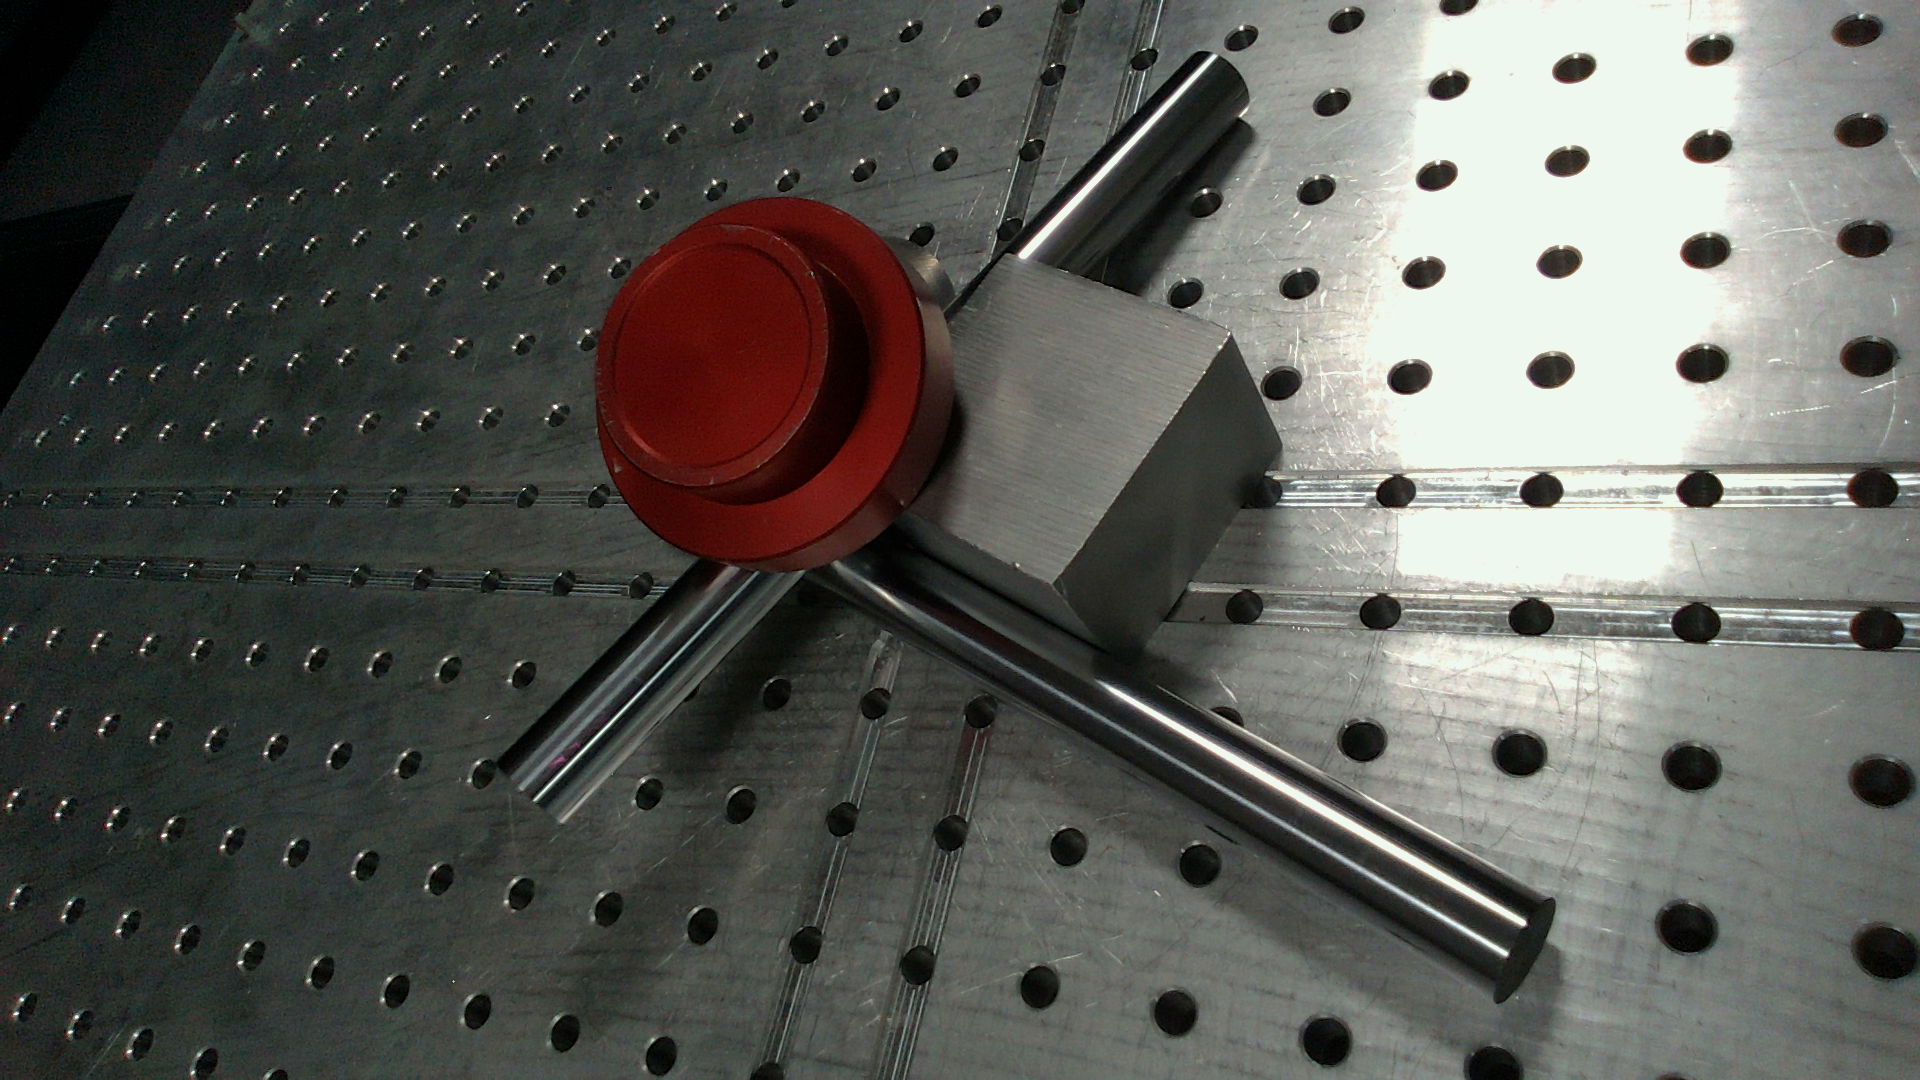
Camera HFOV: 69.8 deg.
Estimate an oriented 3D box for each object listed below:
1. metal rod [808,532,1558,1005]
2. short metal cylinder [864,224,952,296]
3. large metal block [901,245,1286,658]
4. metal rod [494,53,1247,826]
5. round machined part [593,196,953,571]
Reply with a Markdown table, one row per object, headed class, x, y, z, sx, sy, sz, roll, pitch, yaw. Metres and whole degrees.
| class | x | y | z | sx | sy | sz | roll | pitch | yaw |
| --- | --- | --- | --- | --- | --- | --- | --- | --- | --- |
| metal rod | 0.011 | 0.029 | 0.372 | 0.299 | 0.025 | 0.025 | 28 | 77 | 37 |
| short metal cylinder | -0.046 | -0.060 | 0.423 | 0.050 | 0.080 | 0.080 | 28 | 77 | 38 |
| large metal block | 0.028 | -0.024 | 0.376 | 0.080 | 0.050 | 0.080 | 29 | 77 | 38 |
| metal rod | -0.017 | -0.039 | 0.405 | 0.025 | 0.025 | 0.300 | 31 | 72 | 38 |
| round machined part | -0.055 | -0.043 | 0.357 | 0.098 | 0.042 | 0.098 | -4 | 80 | 21 |
